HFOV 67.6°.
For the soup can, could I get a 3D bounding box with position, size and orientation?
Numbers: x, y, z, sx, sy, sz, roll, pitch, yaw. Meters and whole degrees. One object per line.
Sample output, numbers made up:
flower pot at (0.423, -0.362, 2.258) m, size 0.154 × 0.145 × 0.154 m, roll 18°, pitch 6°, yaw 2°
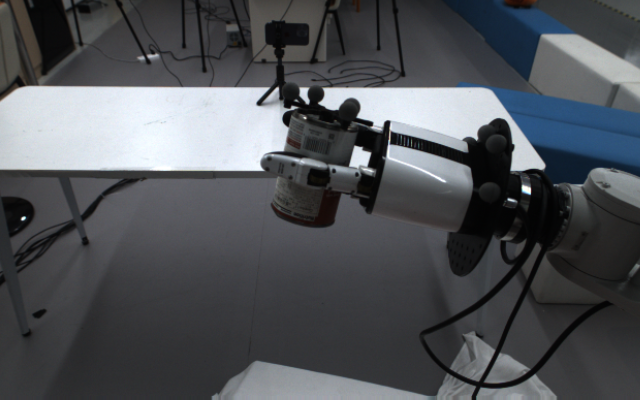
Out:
soup can at (-0.004, -0.032, 0.482) m, size 0.067 × 0.101 × 0.067 m, roll 13°, pitch 18°, yaw -4°
